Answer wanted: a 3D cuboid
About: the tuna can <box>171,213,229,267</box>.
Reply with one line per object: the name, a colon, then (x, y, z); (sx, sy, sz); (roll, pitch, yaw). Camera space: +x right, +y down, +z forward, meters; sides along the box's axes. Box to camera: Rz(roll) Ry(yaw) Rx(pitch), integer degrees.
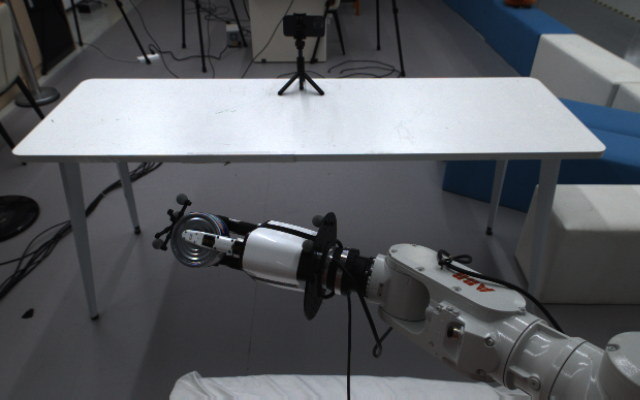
tuna can: (-0.183, 0.062, 0.744); (0.085, 0.085, 0.034); (9, -2, 10)
